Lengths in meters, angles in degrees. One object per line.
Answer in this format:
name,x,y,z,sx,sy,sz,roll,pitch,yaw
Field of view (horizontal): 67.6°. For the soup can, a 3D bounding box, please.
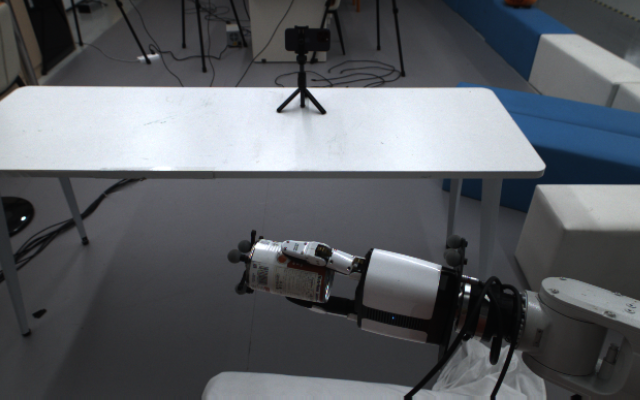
soup can,-0.033,0.091,0.619,0.101,0.067,0.067,9,35,9
